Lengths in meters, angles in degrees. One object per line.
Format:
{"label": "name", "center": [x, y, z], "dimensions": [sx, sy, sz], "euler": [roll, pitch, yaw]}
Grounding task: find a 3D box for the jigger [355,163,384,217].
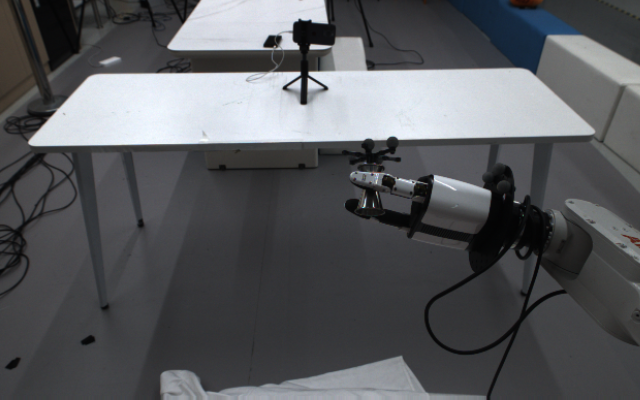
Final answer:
{"label": "jigger", "center": [0.071, -0.016, 0.698], "dimensions": [0.043, 0.043, 0.071], "euler": [3, 75, 1]}
